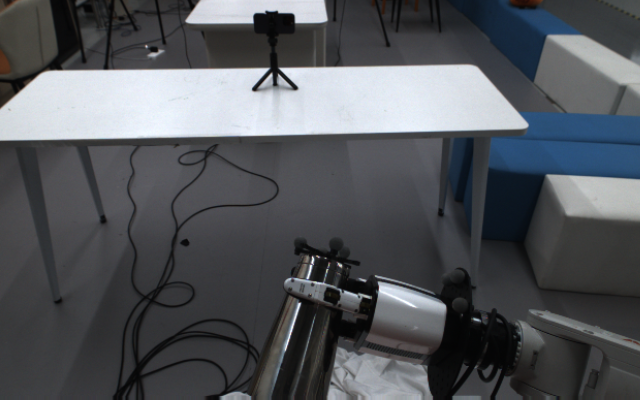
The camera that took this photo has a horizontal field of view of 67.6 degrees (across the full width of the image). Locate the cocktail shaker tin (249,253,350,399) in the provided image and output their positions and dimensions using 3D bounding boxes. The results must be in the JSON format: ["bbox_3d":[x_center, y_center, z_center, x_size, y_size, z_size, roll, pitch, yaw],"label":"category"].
[{"bbox_3d":[-0.015,0.156,0.581,0.093,0.093,0.170,12,72,14],"label":"cocktail shaker tin"}]
